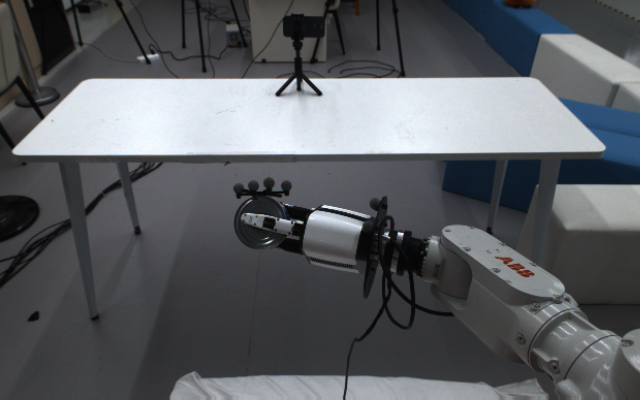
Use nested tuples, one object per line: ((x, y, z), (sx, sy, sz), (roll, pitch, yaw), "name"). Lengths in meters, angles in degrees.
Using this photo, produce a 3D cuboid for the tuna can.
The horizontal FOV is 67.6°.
((-0.086, 0.038, 0.774), (0.085, 0.085, 0.034), (10, -6, 11), "tuna can")
